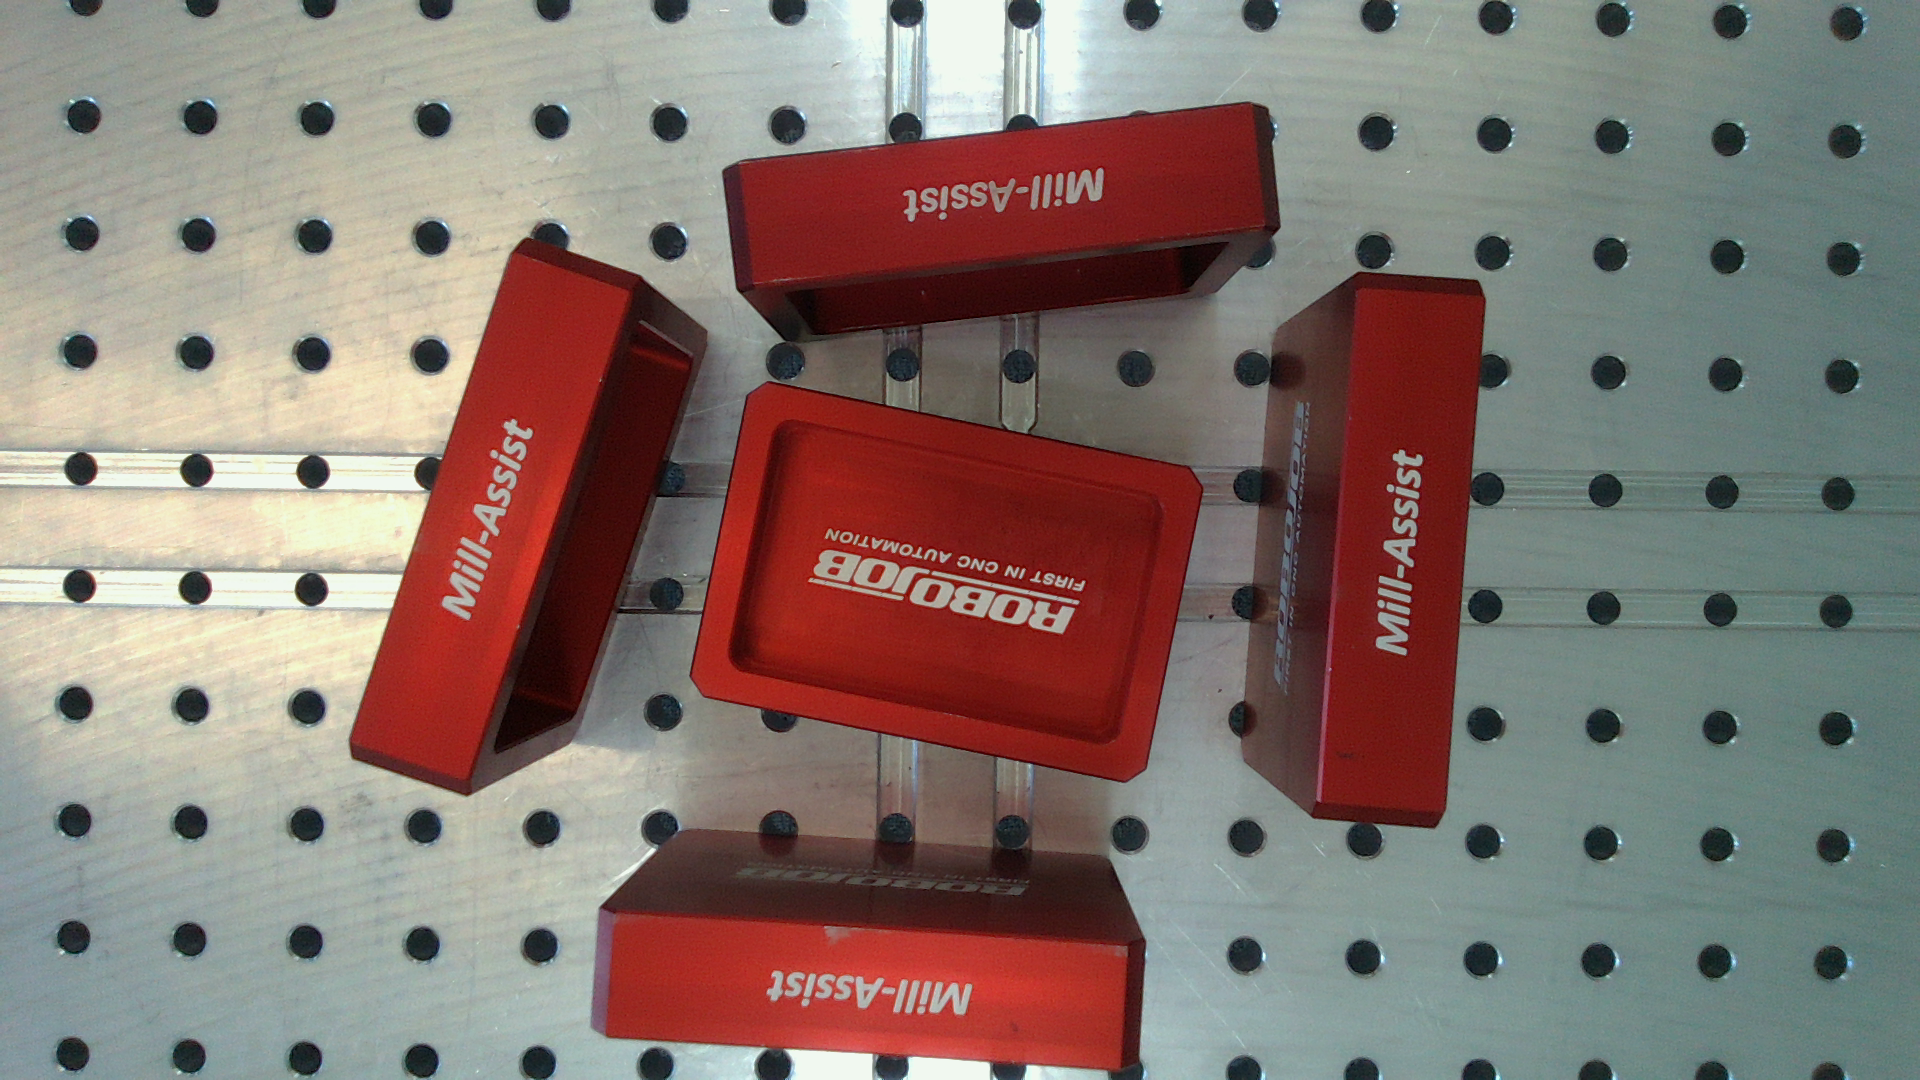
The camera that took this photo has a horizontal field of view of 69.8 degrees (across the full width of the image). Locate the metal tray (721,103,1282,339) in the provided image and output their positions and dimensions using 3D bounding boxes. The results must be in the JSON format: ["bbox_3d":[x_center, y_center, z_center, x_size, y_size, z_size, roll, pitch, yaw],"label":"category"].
[{"bbox_3d":[0.010,-0.081,0.364,0.130,0.090,0.030,-6,90,0],"label":"metal tray"}]

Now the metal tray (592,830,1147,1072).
[{"bbox_3d":[-0.021,0.105,0.366,0.130,0.090,0.030,4,90,0],"label":"metal tray"}]

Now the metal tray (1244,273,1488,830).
[{"bbox_3d":[0.104,0.003,0.365,0.030,0.090,0.130,4,90,0],"label":"metal tray"}]

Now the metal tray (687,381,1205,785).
[{"bbox_3d":[-0.004,0.012,0.394,0.130,0.030,0.090,11,90,-1],"label":"metal tray"}]

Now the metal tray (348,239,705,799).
[{"bbox_3d":[-0.109,-0.005,0.364,0.030,0.090,0.130,18,90,0],"label":"metal tray"}]
